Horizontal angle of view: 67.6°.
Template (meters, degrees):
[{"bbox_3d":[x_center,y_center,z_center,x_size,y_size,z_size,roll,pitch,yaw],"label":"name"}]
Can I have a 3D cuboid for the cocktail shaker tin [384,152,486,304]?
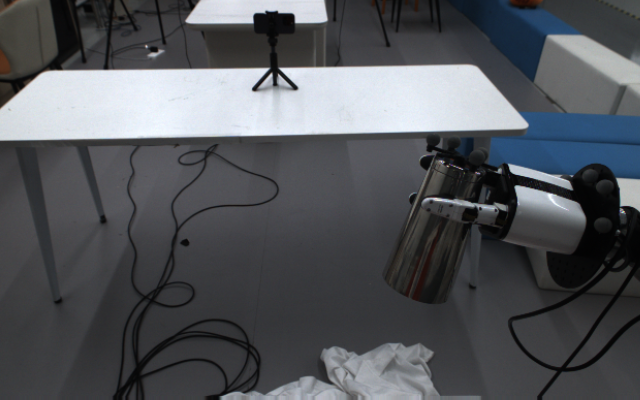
[{"bbox_3d":[0.150,0.031,0.617,0.093,0.170,0.093,14,18,-5],"label":"cocktail shaker tin"}]
